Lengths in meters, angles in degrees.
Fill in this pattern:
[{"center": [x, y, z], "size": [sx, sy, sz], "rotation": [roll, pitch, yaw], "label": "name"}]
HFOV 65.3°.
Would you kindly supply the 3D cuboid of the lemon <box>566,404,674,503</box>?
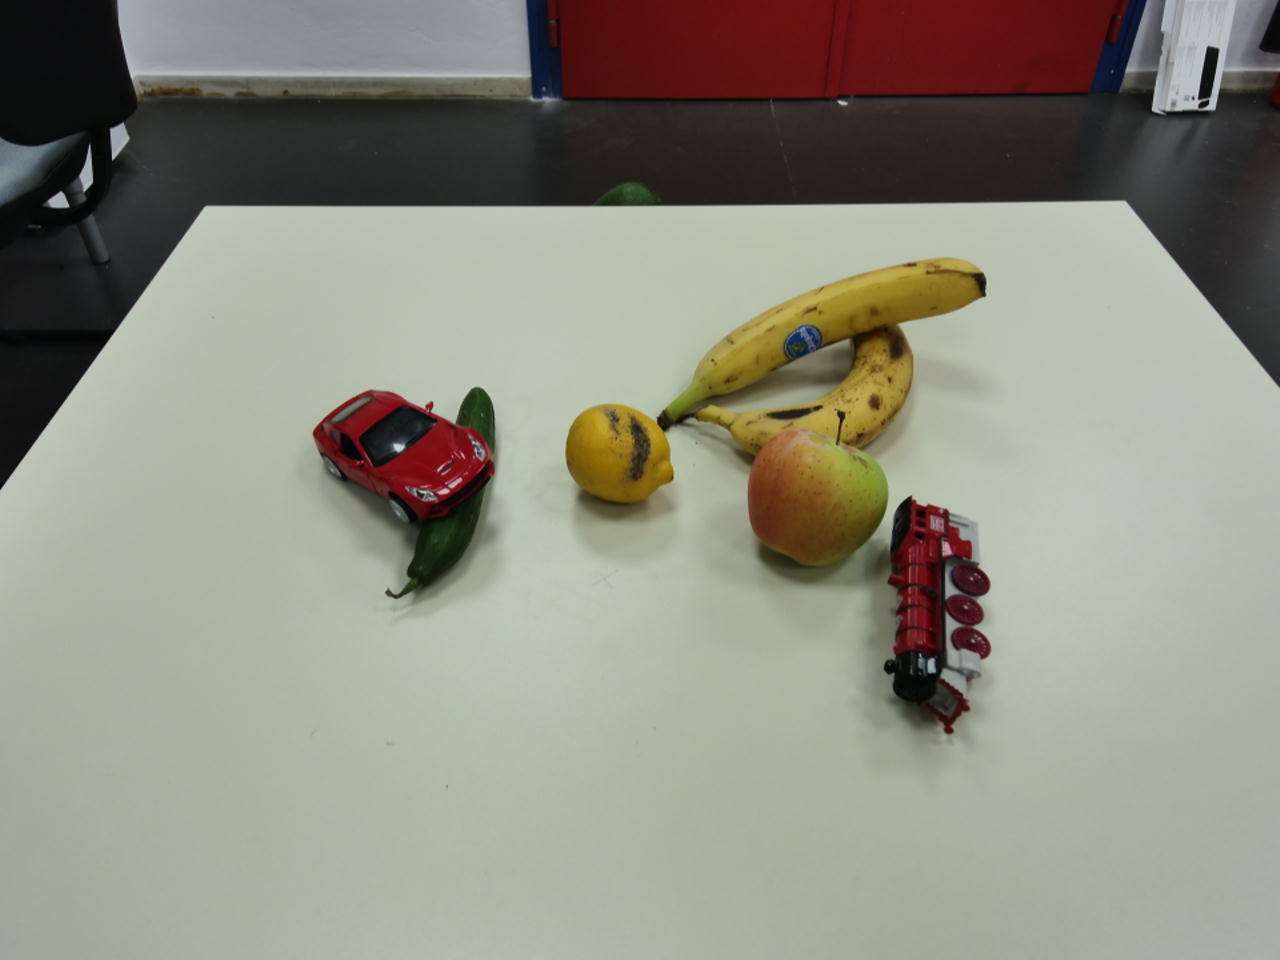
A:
[{"center": [-0.013, -0.016, 0.585], "size": [0.061, 0.056, 0.058], "rotation": [-6, 40, -6], "label": "lemon"}]
